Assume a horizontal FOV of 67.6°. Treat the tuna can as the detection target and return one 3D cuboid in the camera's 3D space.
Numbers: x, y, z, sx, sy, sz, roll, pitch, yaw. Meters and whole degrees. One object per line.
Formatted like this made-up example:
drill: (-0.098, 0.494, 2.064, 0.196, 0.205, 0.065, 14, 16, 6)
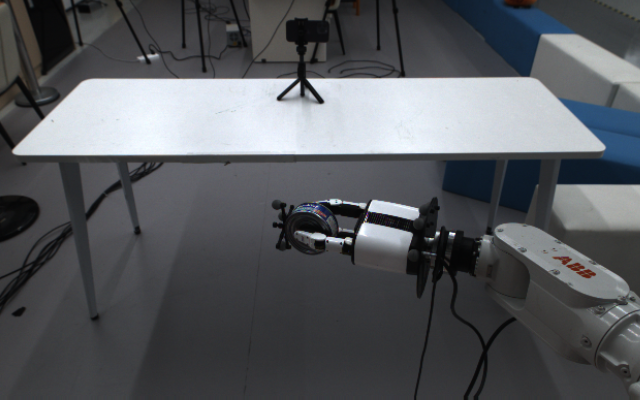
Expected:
tuna can: (-0.014, 0.046, 0.806, 0.085, 0.085, 0.034, 12, 28, 14)
